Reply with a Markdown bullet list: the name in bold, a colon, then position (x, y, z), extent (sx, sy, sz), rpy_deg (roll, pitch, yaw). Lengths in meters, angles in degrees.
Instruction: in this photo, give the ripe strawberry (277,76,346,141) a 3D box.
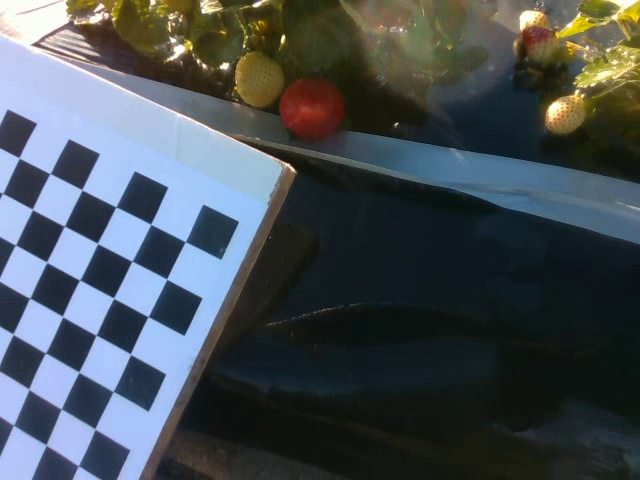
- **ripe strawberry**: position (-0.005, -0.086, 0.407), extent (0.045, 0.049, 0.064), rpy_deg (-41, 15, 5)
